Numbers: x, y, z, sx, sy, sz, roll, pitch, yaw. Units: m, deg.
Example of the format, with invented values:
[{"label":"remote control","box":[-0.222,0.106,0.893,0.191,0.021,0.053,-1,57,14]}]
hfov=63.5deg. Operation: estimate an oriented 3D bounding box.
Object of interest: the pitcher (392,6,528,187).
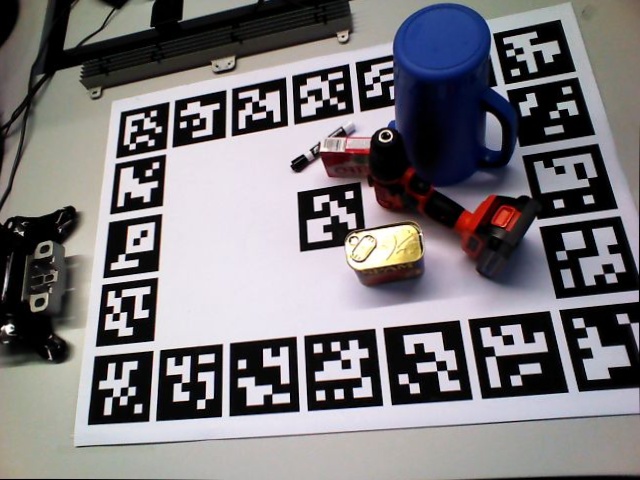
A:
[{"label":"pitcher","box":[0.181,-0.173,0.669,0.189,0.242,0.133,24,81,27]}]

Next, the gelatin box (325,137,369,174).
[{"label":"gelatin box","box":[0.058,-0.123,0.767,0.090,0.073,0.030,3,75,14]}]

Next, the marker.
[{"label":"marker","box":[0.008,-0.159,0.819,0.121,0.019,0.019,-33,67,2]}]

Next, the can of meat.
[{"label":"can of meat","box":[0.093,0.022,0.696,0.102,0.084,0.057,-9,67,11]}]

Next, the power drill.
[{"label":"power drill","box":[0.145,-0.063,0.663,0.187,0.184,0.057,28,82,16]}]
